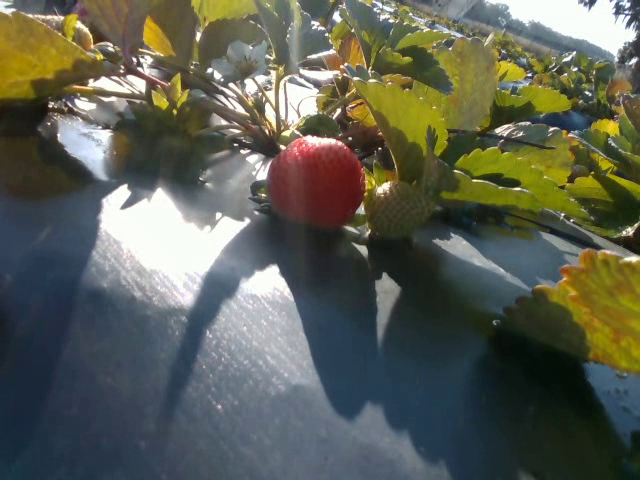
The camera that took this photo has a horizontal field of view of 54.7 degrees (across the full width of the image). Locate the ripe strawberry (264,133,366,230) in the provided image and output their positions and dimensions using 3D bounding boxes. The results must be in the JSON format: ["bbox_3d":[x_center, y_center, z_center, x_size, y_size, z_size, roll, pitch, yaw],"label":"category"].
[{"bbox_3d":[0.002,-0.016,0.180,0.042,0.037,0.045,37,-29,6],"label":"ripe strawberry"}]
